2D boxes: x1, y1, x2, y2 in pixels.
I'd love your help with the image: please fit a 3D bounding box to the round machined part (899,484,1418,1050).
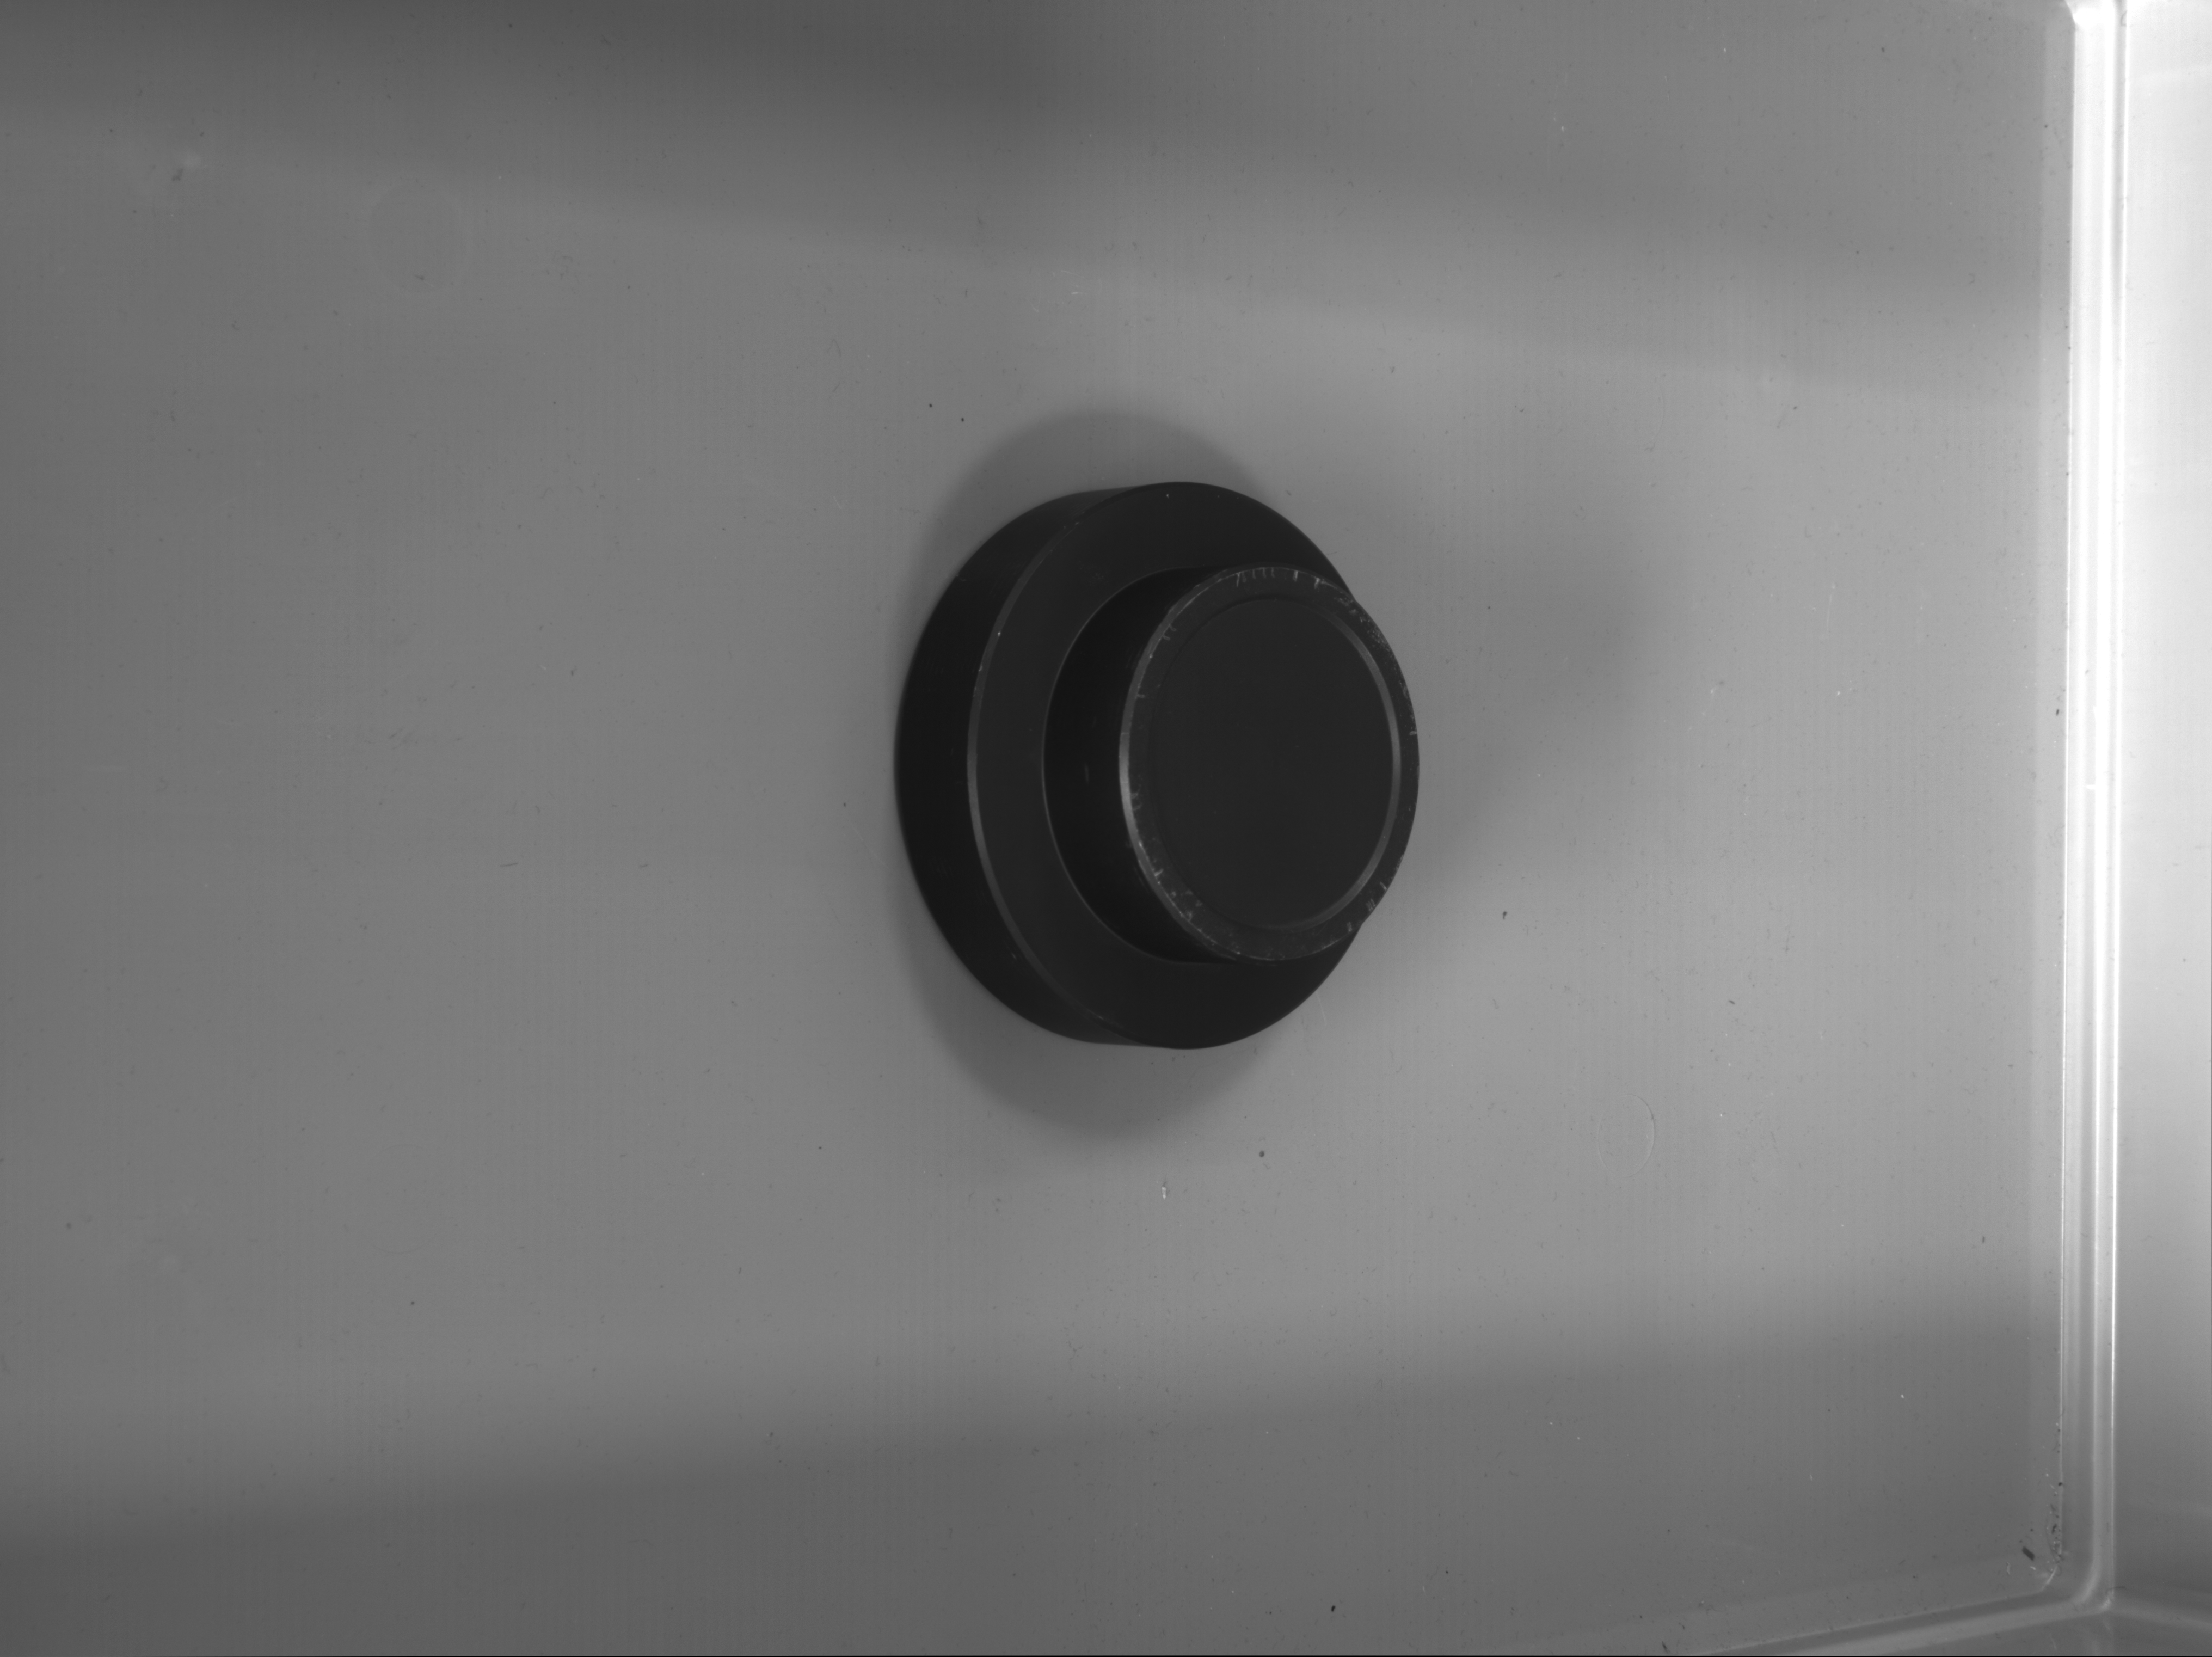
[{"bbox_3d":[0.016,-0.011,0.635,0.098,0.042,0.098,0,90,-40],"label":"round machined part"}]
